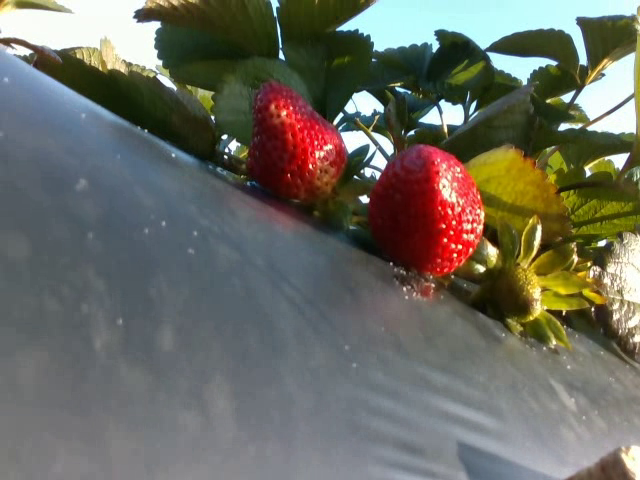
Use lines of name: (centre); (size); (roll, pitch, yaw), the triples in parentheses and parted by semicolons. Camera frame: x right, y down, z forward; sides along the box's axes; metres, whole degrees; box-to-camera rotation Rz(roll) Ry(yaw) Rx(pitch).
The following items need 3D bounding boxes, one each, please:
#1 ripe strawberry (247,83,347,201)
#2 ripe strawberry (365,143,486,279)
ripe strawberry: (-0.010, -0.036, 0.234); (0.039, 0.054, 0.048); (-26, 22, 24)
ripe strawberry: (0.035, -0.014, 0.184); (0.038, 0.043, 0.053); (-40, -15, -7)
